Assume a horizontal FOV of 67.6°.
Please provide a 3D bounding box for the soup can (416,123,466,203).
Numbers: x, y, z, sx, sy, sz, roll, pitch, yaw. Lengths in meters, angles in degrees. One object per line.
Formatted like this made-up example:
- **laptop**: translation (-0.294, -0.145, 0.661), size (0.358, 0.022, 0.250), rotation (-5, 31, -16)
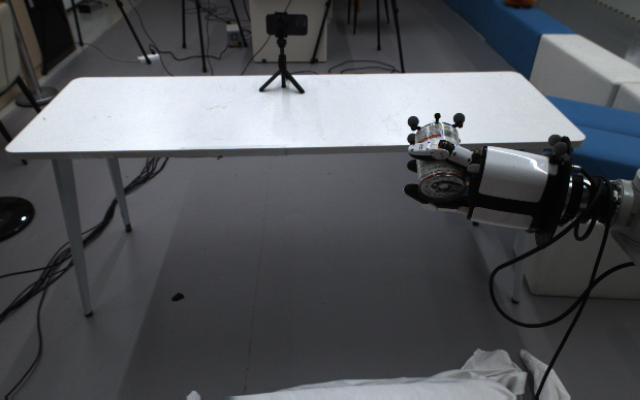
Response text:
- **soup can**: translation (0.178, -0.058, 0.719), size (0.067, 0.067, 0.101), rotation (3, 57, 1)
